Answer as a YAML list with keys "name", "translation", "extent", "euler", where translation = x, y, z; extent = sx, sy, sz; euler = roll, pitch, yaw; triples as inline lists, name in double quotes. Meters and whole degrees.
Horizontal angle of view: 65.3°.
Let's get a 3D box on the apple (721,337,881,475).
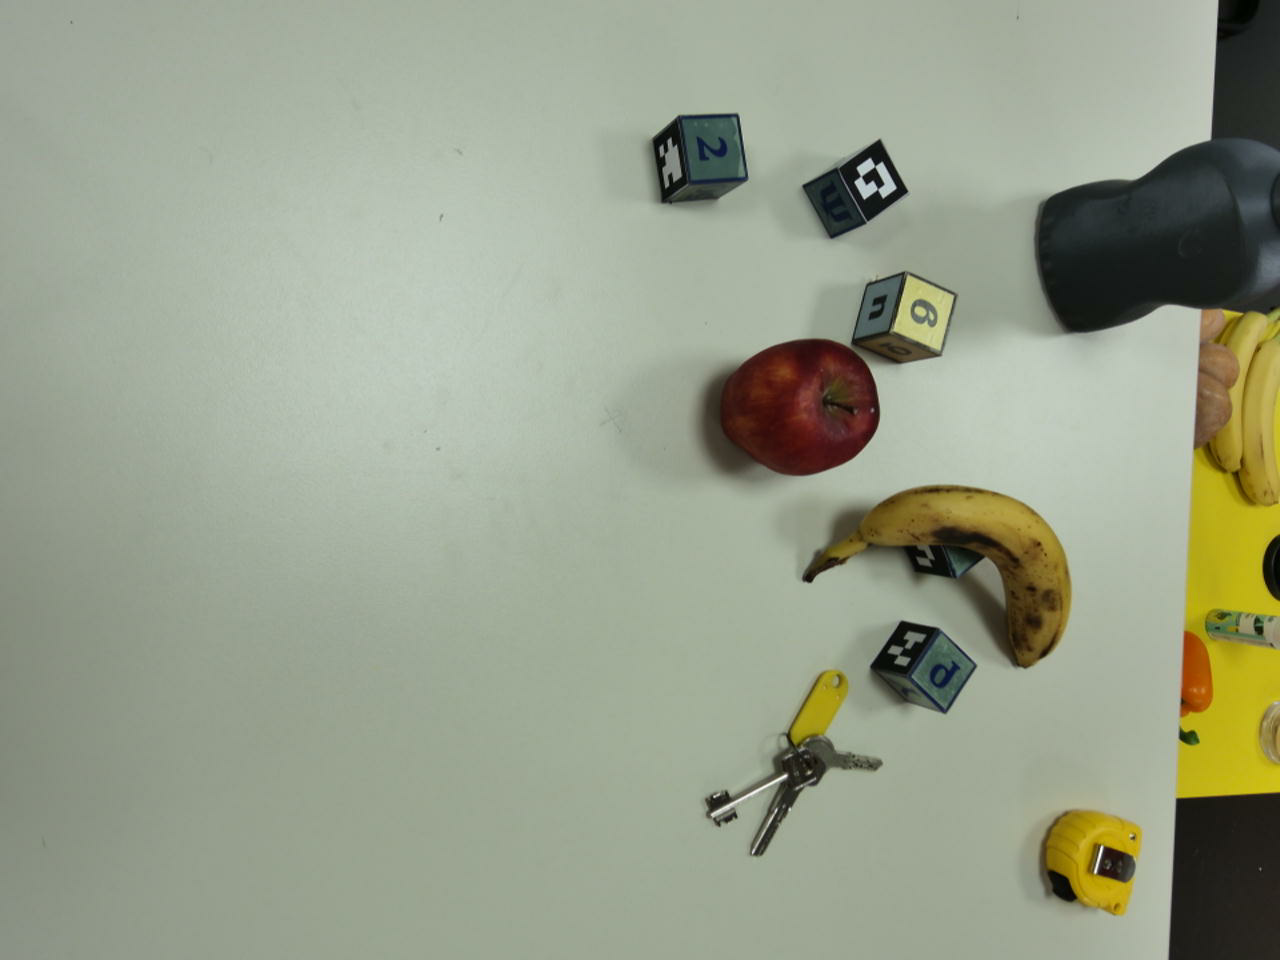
- name: "apple"
  translation: [0.091, -0.041, 0.557]
  extent: [0.083, 0.090, 0.083]
  euler: [0, 90, -22]
